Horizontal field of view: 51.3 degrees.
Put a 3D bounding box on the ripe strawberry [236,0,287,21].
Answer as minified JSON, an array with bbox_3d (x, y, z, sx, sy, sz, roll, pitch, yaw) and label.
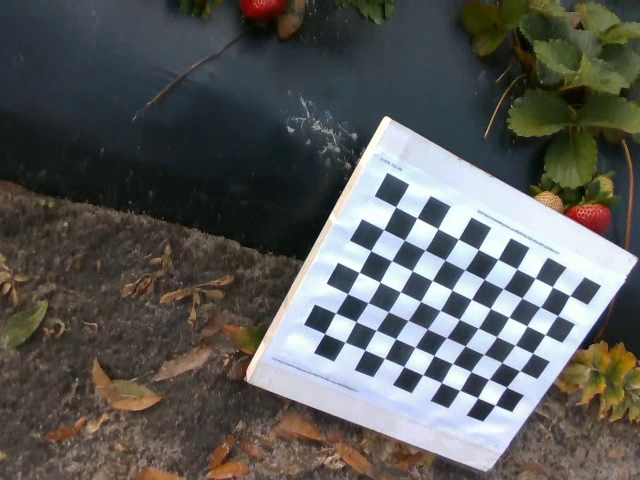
[{"bbox_3d":[-0.047,-0.217,0.611,0.050,0.049,0.053,17,34,-19],"label":"ripe strawberry"}]
